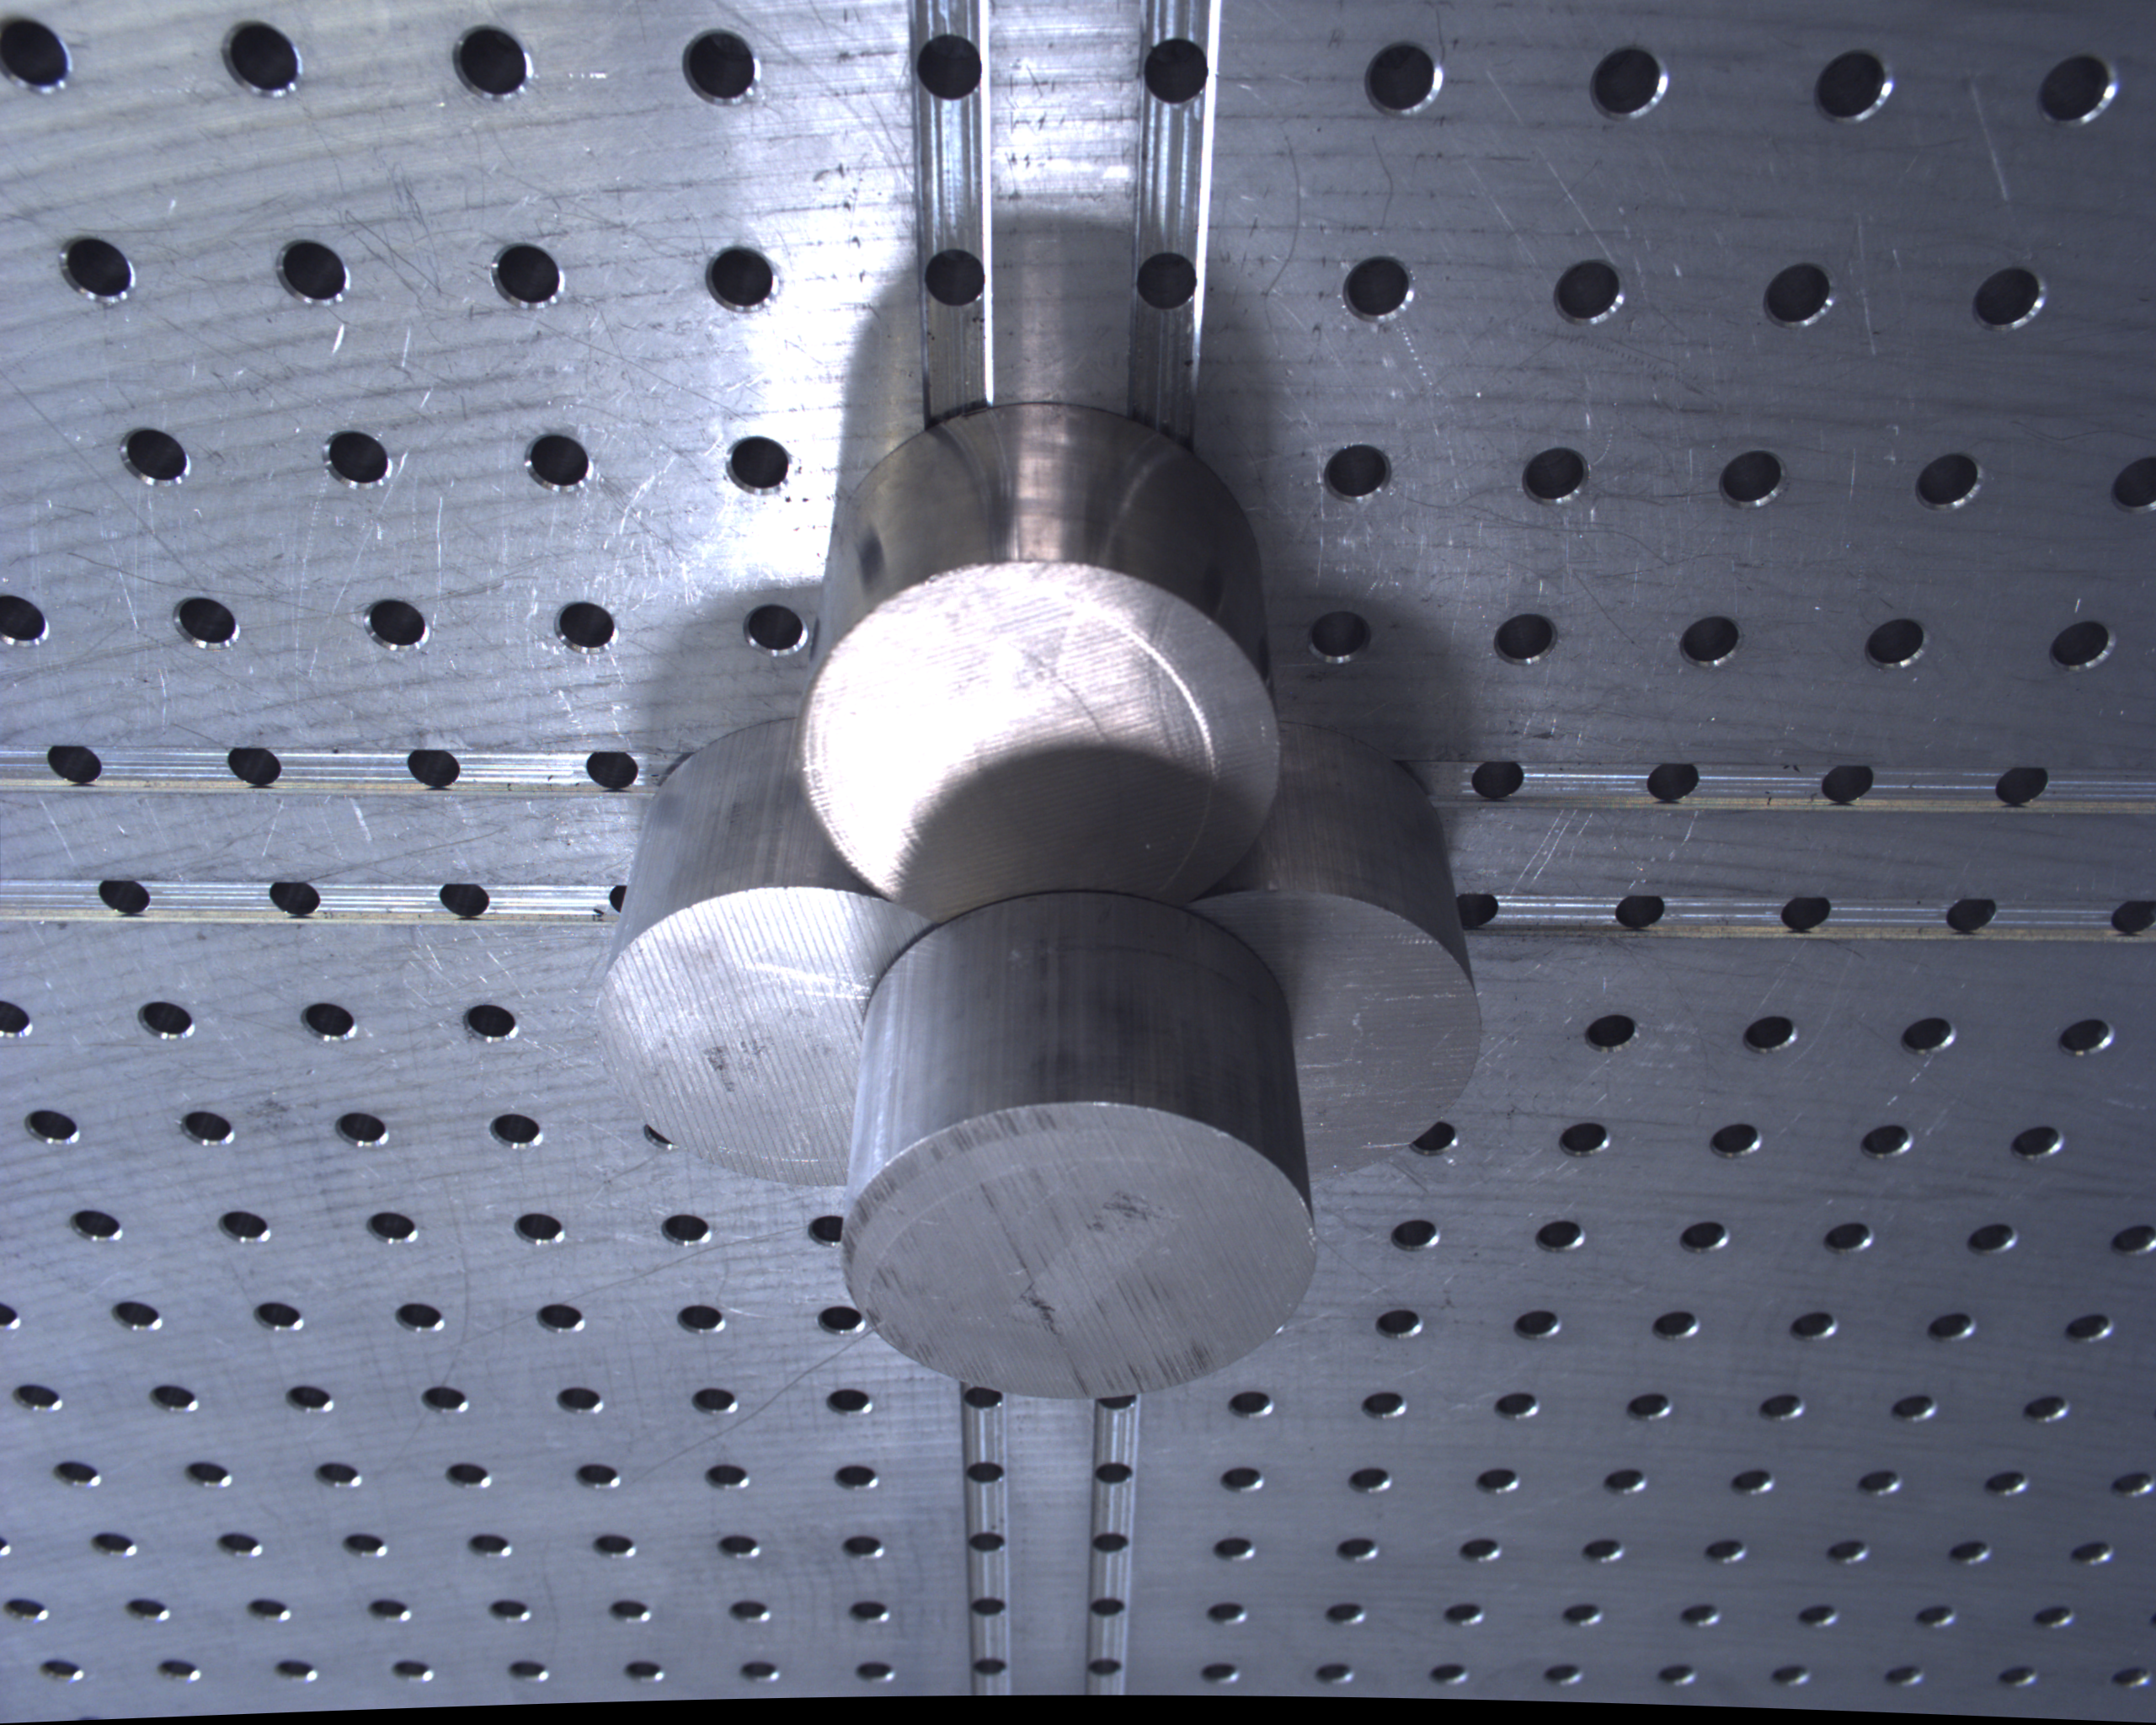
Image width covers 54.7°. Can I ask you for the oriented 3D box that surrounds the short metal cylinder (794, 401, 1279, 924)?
[{"bbox_3d":[-0.007,-0.033,0.366,0.081,0.050,0.079,-1,130,-1],"label":"short metal cylinder"}]

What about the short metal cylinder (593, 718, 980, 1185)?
[{"bbox_3d":[-0.050,0.018,0.410,0.081,0.050,0.079,0,130,0],"label":"short metal cylinder"}]

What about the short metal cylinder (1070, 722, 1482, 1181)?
[{"bbox_3d":[0.035,0.019,0.411,0.081,0.050,0.079,0,130,0],"label":"short metal cylinder"}]

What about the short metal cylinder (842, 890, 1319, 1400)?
[{"bbox_3d":[0.000,0.051,0.372,0.081,0.050,0.079,0,130,0],"label":"short metal cylinder"}]

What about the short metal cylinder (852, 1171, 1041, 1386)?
[{"bbox_3d":[-0.008,0.070,0.454,0.081,0.050,0.079,-1,128,0],"label":"short metal cylinder"}]
